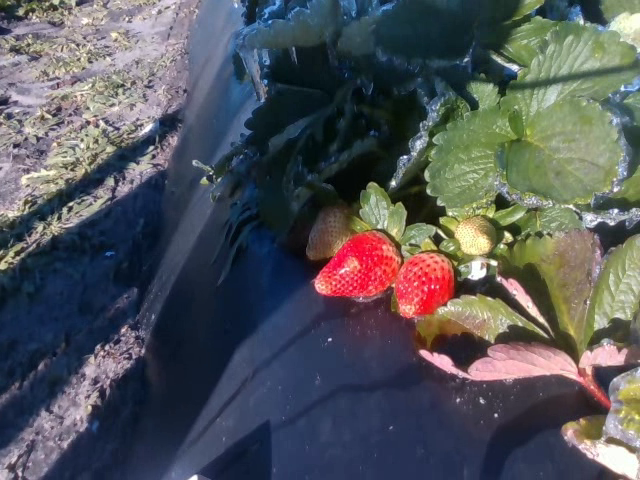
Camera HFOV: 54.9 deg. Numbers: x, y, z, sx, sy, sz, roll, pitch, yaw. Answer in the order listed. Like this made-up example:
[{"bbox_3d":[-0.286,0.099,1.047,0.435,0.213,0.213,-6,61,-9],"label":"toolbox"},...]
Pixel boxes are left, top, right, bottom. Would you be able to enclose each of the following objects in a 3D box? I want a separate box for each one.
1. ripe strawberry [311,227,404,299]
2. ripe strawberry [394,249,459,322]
[{"bbox_3d":[0.016,0.018,0.324,0.051,0.040,0.036,-22,17,-30],"label":"ripe strawberry"},{"bbox_3d":[0.051,0.024,0.305,0.036,0.041,0.030,-21,-54,41],"label":"ripe strawberry"}]
